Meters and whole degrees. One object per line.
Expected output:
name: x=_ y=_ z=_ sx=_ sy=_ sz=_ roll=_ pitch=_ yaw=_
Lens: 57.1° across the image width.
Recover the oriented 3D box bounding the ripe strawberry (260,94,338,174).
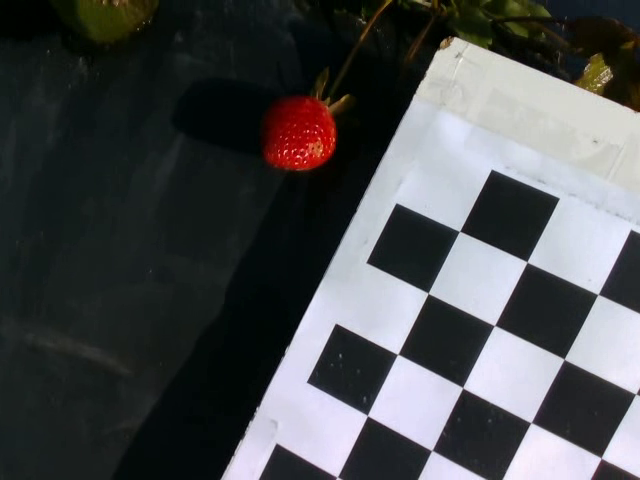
ripe strawberry: x=-0.008 y=-0.032 z=0.189 sx=0.035 sy=0.033 sz=0.037 roll=25 pitch=38 yaw=10
